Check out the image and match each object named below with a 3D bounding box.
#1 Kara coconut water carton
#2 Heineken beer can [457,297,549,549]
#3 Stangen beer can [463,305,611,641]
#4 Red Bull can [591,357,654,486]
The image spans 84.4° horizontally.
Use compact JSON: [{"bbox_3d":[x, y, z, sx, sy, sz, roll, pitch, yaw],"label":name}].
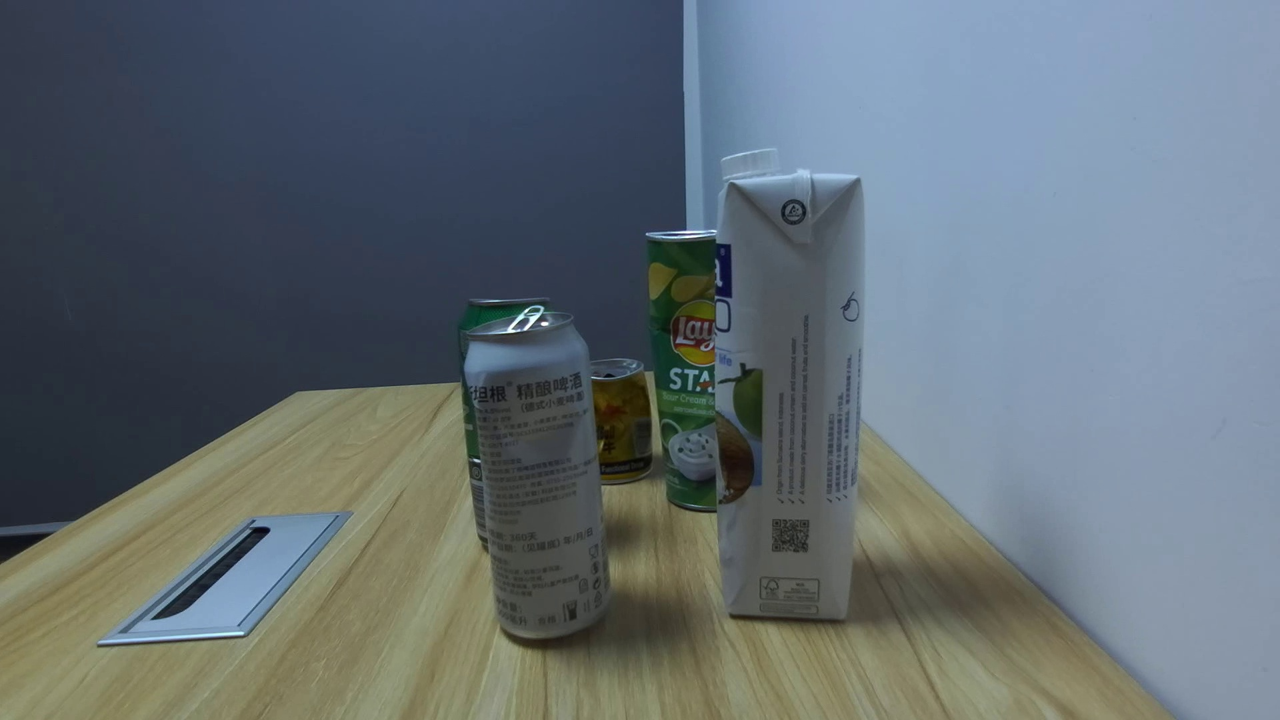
[{"bbox_3d":[0.080,0.015,0.382,0.075,0.245,0.077,0,14,8],"label":"Kara coconut water carton"},{"bbox_3d":[-0.085,0.043,0.490,0.069,0.168,0.068,-5,7,-21],"label":"Heineken beer can"},{"bbox_3d":[-0.056,0.061,0.380,0.070,0.173,0.069,-12,14,-34],"label":"Stangen beer can"},{"bbox_3d":[-0.024,0.049,0.594,0.072,0.092,0.072,-3,16,1],"label":"Red Bull can"}]
